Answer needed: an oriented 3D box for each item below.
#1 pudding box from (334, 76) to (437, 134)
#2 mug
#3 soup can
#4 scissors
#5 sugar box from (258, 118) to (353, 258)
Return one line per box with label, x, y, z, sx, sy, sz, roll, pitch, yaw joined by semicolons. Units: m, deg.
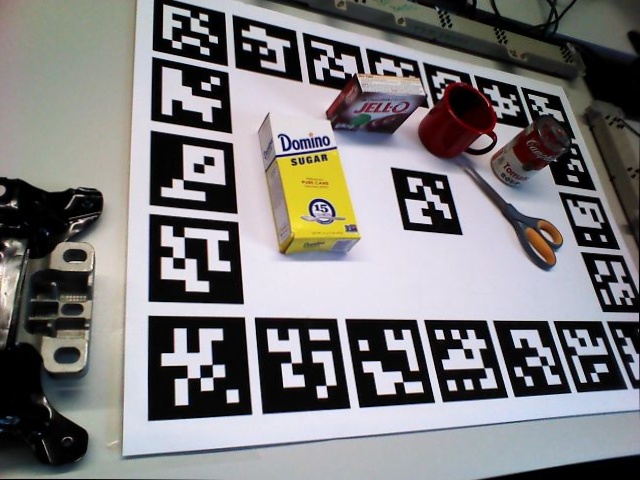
pudding box;0.089;-0.185;0.717;0.113;0.090;0.038;-5;76;-28
mug;0.222;-0.172;0.783;0.092;0.082;0.117;-36;84;-31
soup can;0.332;-0.128;0.812;0.068;0.103;0.067;10;62;-20
scissors;0.308;-0.029;0.794;0.203;0.016;0.087;47;66;0
sugar box;-0.020;-0.065;0.646;0.092;0.045;0.175;1;68;-23
